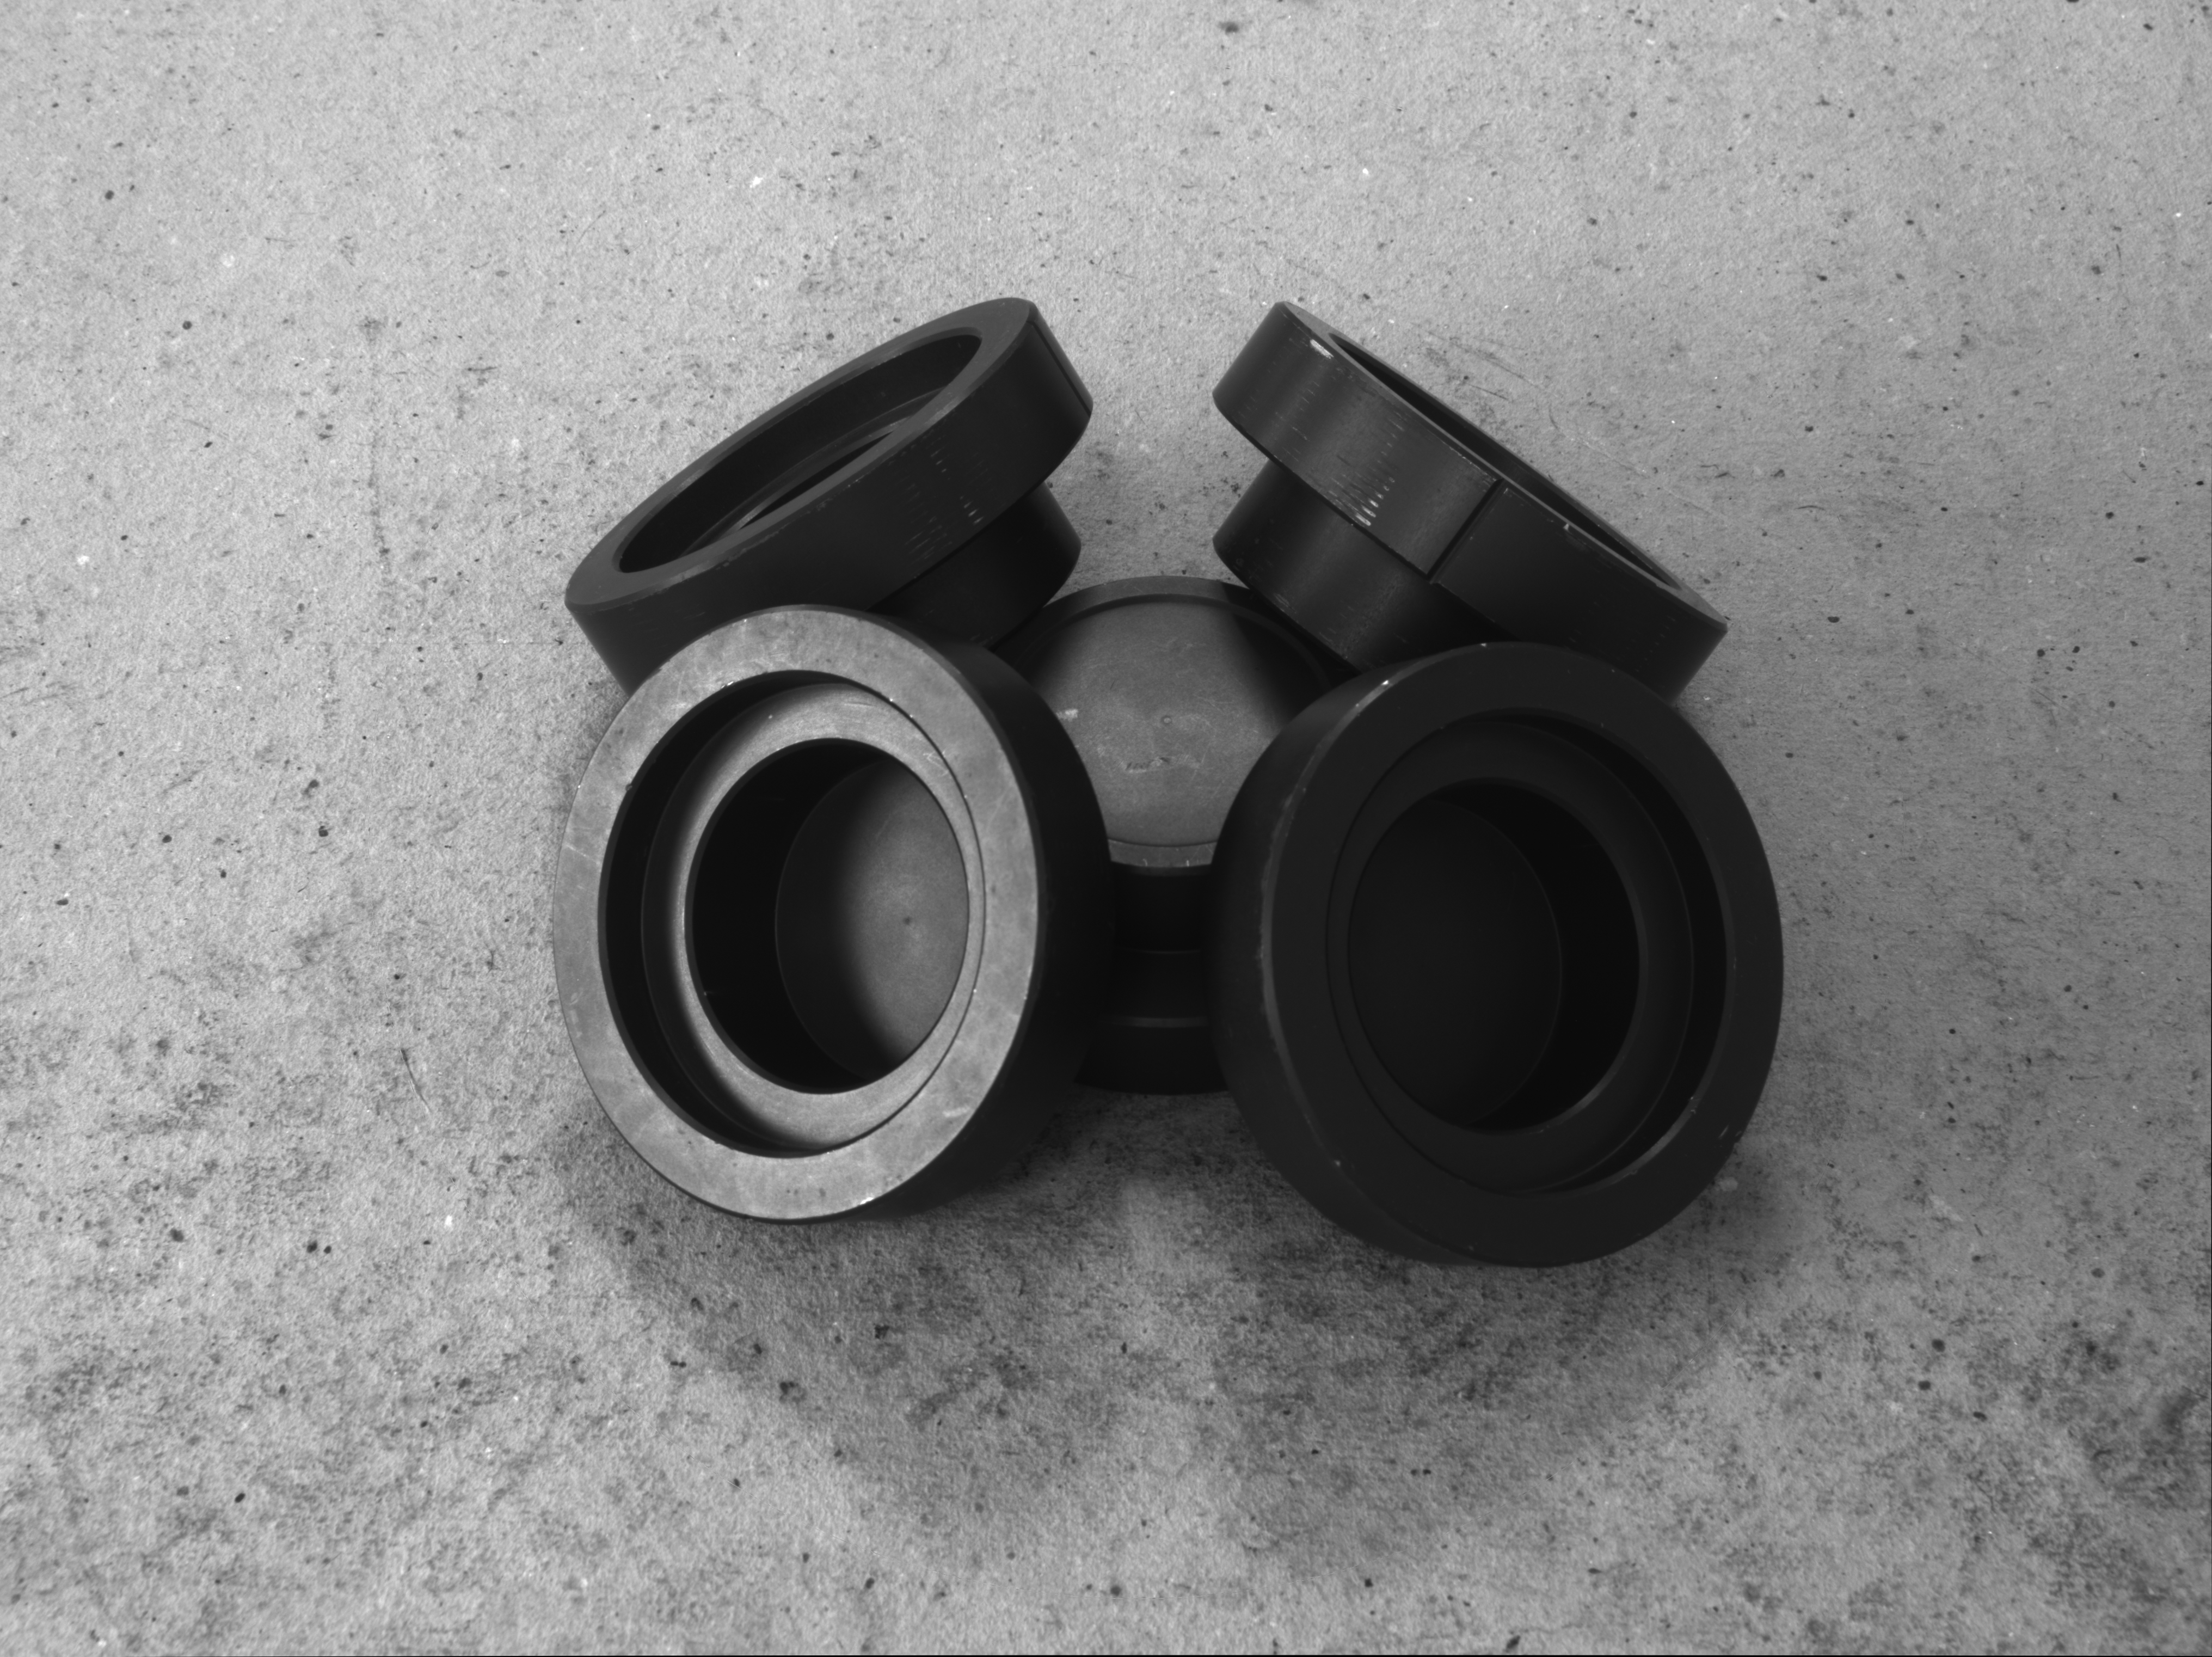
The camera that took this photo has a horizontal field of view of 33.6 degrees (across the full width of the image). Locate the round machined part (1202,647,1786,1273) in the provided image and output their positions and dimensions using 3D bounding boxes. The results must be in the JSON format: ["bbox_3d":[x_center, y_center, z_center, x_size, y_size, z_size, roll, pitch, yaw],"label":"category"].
[{"bbox_3d":[0.058,0.022,0.591,0.098,0.042,0.098,3,83,-28],"label":"round machined part"}]

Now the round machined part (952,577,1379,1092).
[{"bbox_3d":[0.011,-0.005,0.635,0.098,0.042,0.098,1,48,-1],"label":"round machined part"}]

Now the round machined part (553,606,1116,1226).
[{"bbox_3d":[-0.039,0.015,0.596,0.098,0.098,0.042,39,16,28],"label":"round machined part"}]

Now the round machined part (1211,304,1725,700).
[{"bbox_3d":[0.058,-0.047,0.648,0.098,0.098,0.042,42,102,30],"label":"round machined part"}]

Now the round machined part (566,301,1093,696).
[{"bbox_3d":[-0.044,-0.050,0.652,0.098,0.042,0.098,-29,18,11],"label":"round machined part"}]
